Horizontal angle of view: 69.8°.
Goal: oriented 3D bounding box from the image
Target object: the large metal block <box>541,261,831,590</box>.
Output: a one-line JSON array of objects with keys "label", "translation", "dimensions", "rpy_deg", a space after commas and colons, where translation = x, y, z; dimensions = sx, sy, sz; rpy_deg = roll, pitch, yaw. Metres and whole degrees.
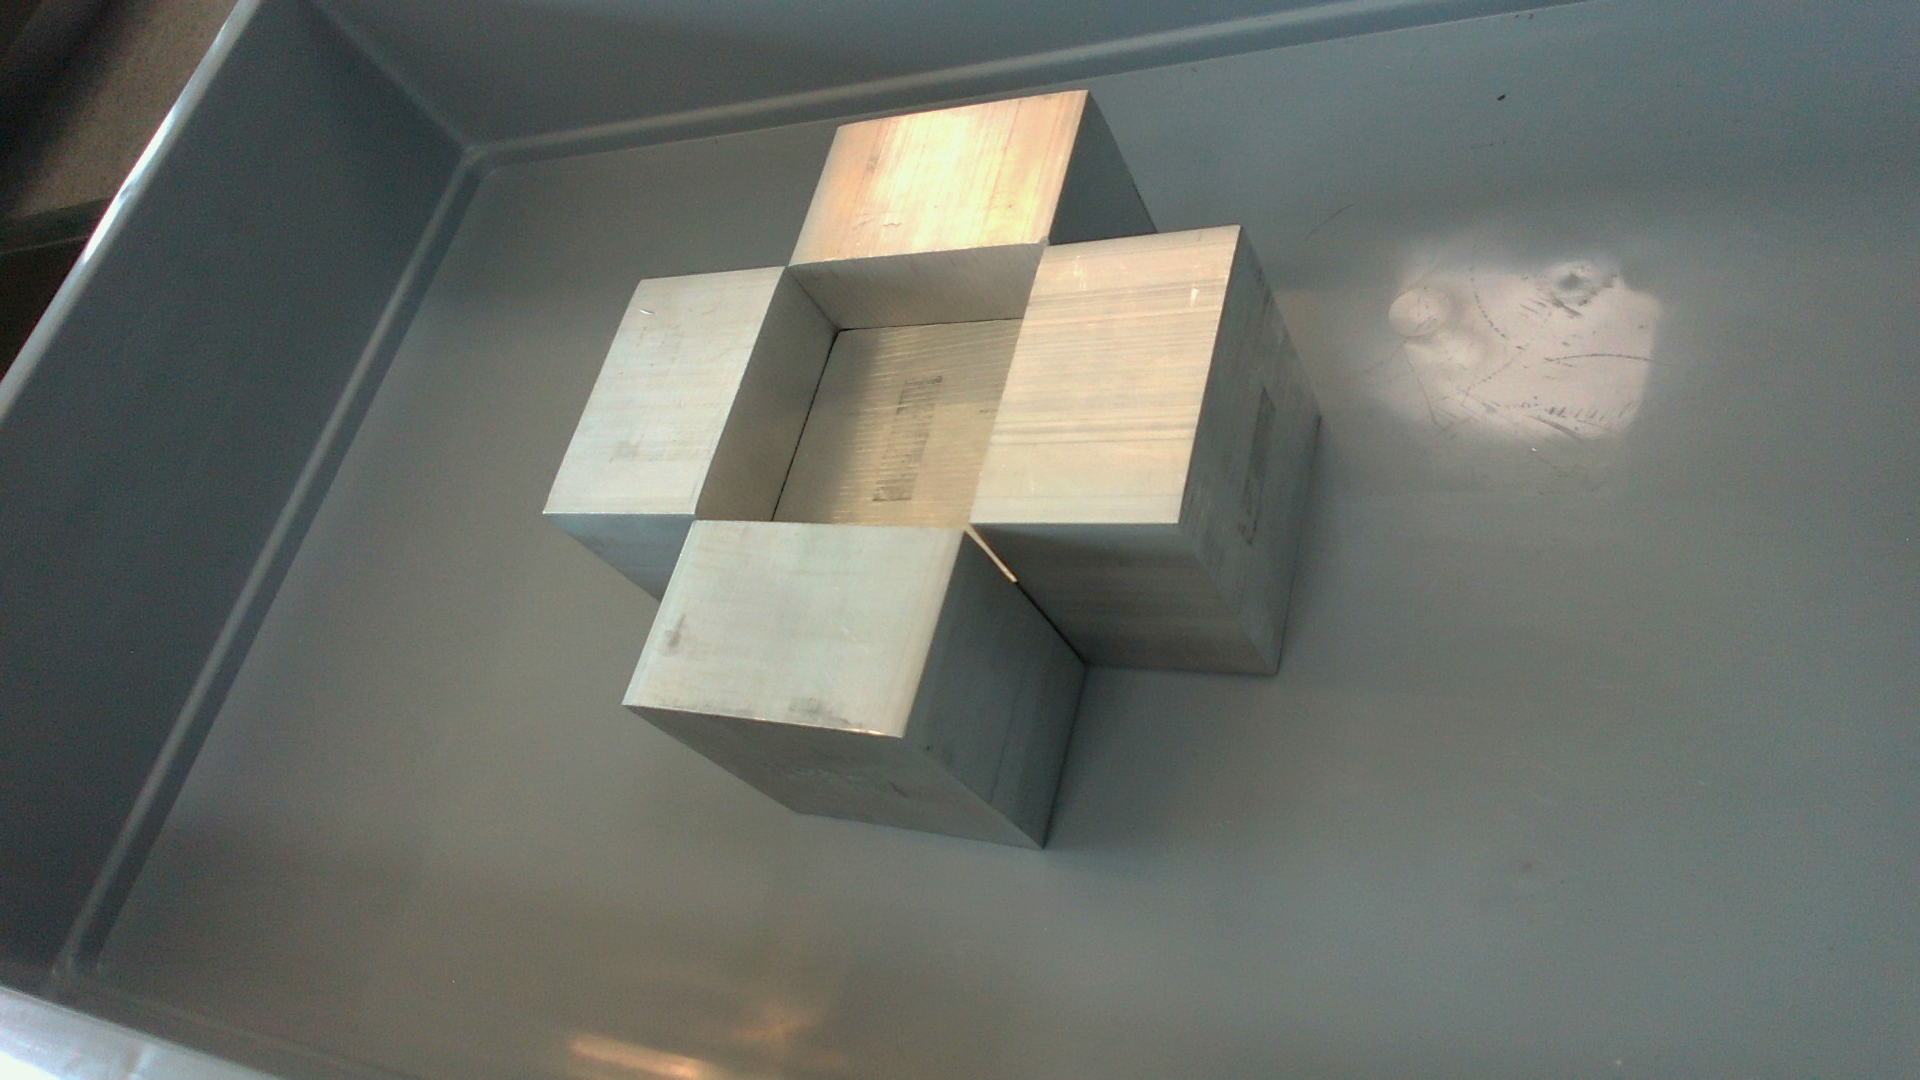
[{"label": "large metal block", "translation": [-0.065, -0.023, 0.407], "dimensions": [0.050, 0.080, 0.080], "rpy_deg": [1, 62, 29]}]

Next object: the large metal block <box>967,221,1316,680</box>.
[{"label": "large metal block", "translation": [0.050, -0.019, 0.342], "dimensions": [0.050, 0.080, 0.080], "rpy_deg": [1, 62, 29]}]

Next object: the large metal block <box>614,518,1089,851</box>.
[{"label": "large metal block", "translation": [-0.024, 0.037, 0.347], "dimensions": [0.080, 0.080, 0.050], "rpy_deg": [2, 62, 29]}]

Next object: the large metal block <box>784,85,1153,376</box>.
[{"label": "large metal block", "translation": [0.010, -0.079, 0.400], "dimensions": [0.080, 0.080, 0.050], "rpy_deg": [1, 62, 29]}]

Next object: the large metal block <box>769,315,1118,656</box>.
[{"label": "large metal block", "translation": [-0.001, -0.014, 0.384], "dimensions": [0.080, 0.050, 0.080], "rpy_deg": [1, 62, 29]}]
